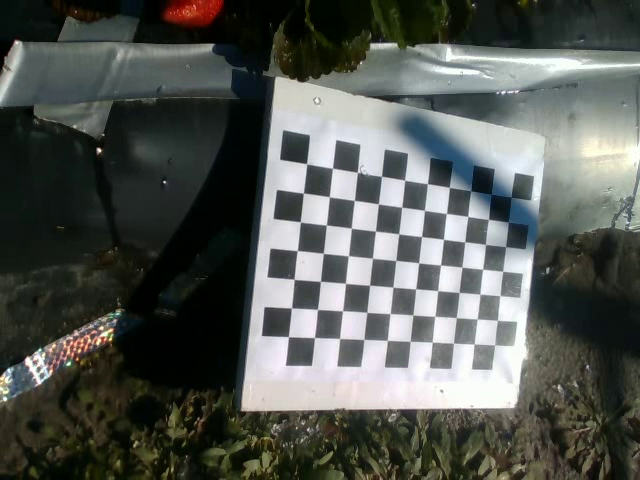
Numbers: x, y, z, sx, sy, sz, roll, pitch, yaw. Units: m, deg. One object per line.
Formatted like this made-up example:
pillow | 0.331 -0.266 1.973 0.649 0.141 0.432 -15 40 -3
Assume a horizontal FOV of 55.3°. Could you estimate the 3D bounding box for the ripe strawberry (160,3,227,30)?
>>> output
ripe strawberry | -0.105 -0.184 0.490 0.057 0.065 0.061 -35 -63 30
